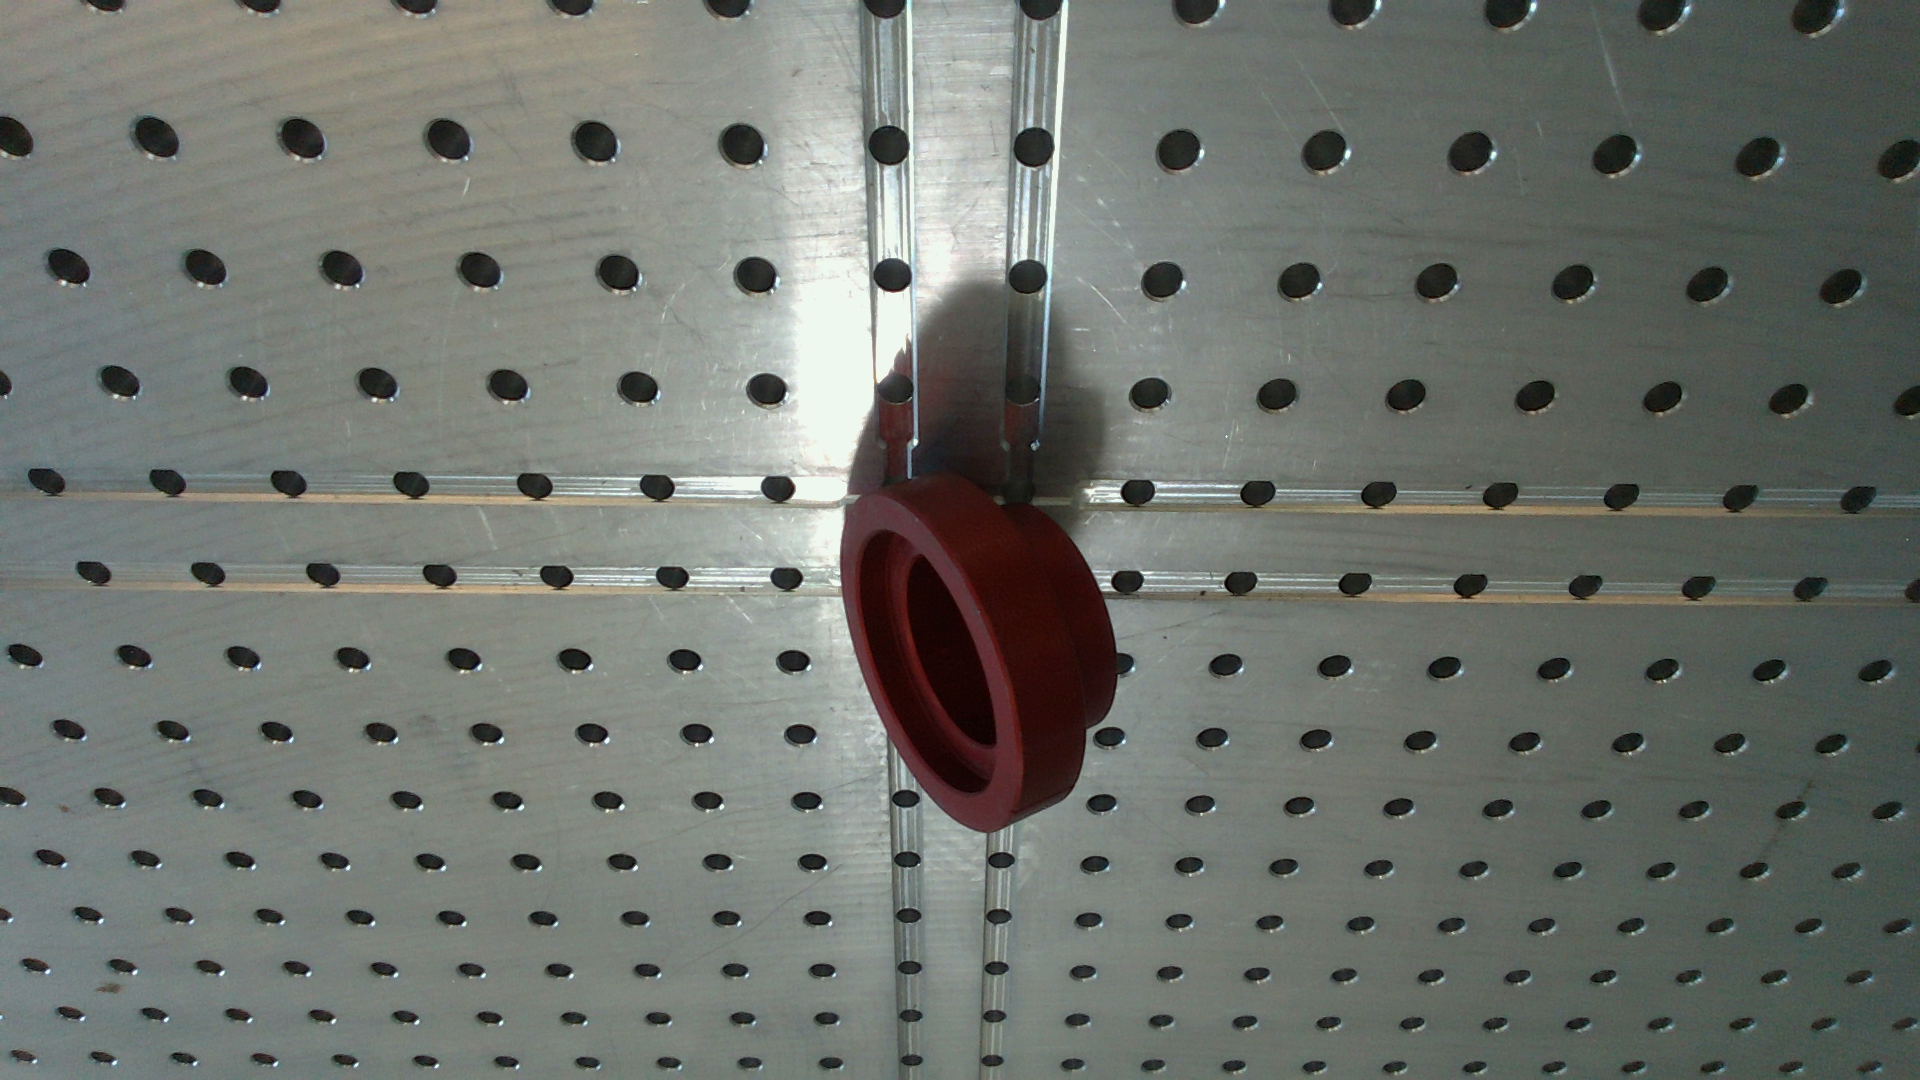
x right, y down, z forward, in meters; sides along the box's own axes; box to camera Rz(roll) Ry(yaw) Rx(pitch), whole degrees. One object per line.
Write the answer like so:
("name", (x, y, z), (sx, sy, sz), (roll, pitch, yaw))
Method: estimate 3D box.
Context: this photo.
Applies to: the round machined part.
("round machined part", (0.007, 0.027, 0.381), (0.042, 0.098, 0.098), (-19, 135, -25))
